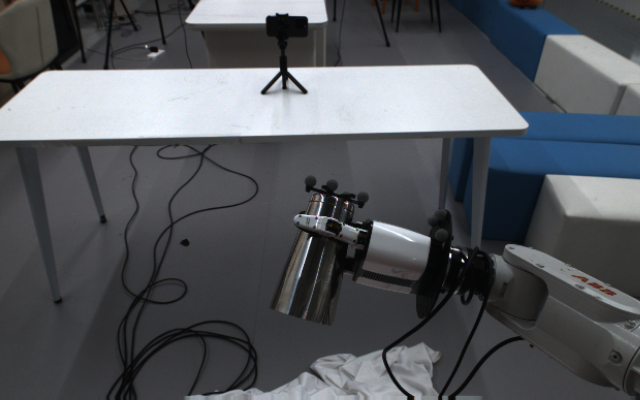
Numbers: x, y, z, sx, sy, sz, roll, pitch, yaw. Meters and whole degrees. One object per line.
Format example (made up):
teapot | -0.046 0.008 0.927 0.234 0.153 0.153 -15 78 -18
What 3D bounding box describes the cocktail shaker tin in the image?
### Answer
cocktail shaker tin | -0.001 0.079 0.688 0.093 0.093 0.170 13 79 15
